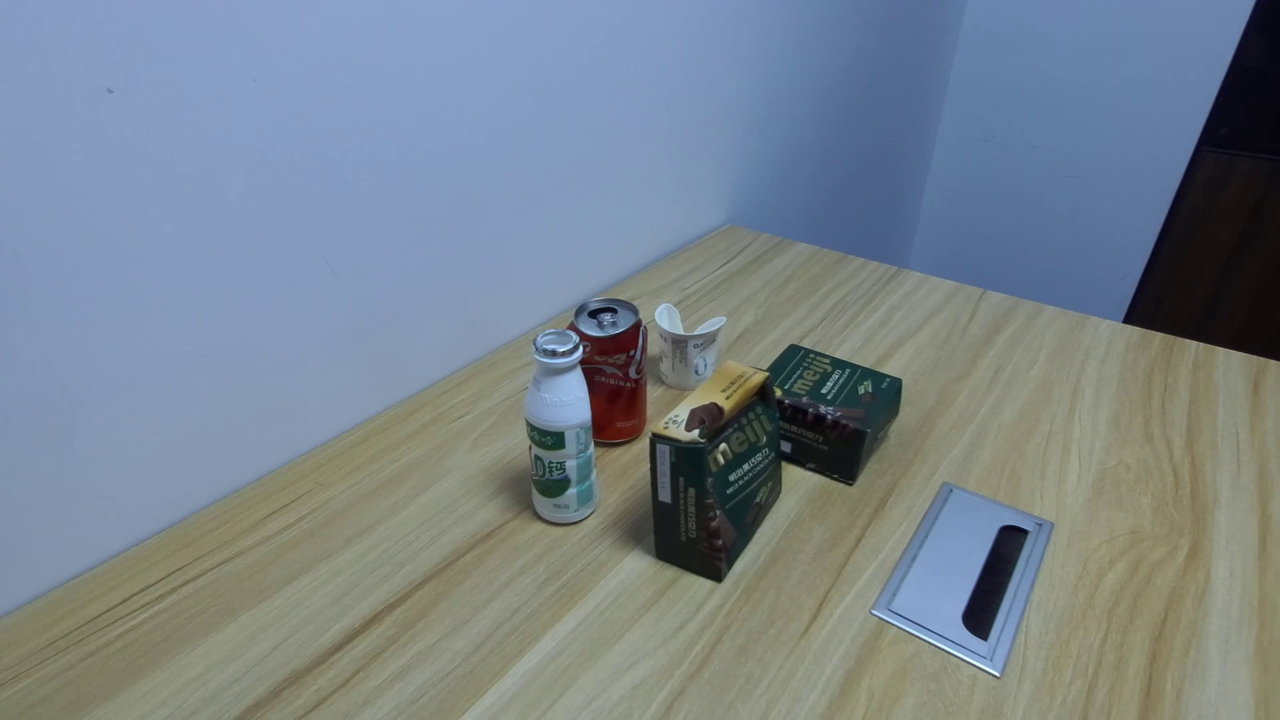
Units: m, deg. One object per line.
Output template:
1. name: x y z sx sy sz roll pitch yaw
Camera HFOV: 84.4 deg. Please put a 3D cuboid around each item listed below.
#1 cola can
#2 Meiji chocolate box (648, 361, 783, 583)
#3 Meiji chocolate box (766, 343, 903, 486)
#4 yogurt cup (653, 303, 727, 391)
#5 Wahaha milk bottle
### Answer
1. cola can: -0.025 0.009 0.604 0.072 0.117 0.065 14 35 20
2. Meiji chocolate box: 0.058 0.073 0.502 0.051 0.117 0.117 10 31 31
3. Meiji chocolate box: 0.157 0.042 0.613 0.122 0.058 0.116 19 34 27
4. yogurt cup: 0.045 -0.010 0.675 0.067 0.070 0.067 2 31 -1
5. Wahaha milk bottle: -0.056 0.049 0.508 0.056 0.148 0.056 1 30 0
